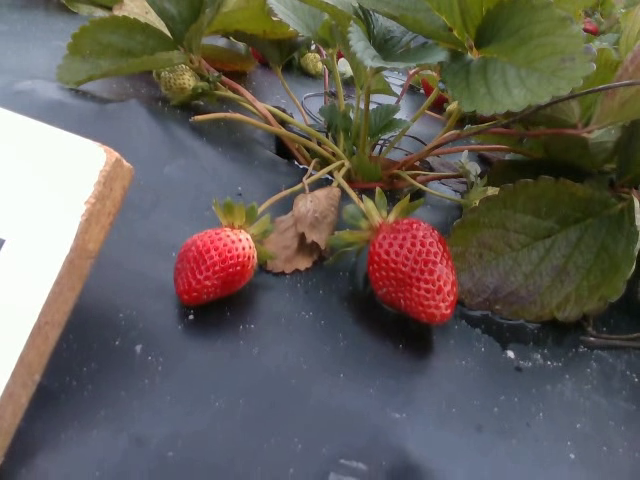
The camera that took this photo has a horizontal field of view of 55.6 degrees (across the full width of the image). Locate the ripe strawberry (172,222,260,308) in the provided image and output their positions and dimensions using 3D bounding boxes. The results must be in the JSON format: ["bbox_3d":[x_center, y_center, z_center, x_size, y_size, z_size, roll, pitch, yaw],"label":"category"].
[{"bbox_3d":[-0.042,0.008,0.235,0.036,0.041,0.028,17,-30,16],"label":"ripe strawberry"}]

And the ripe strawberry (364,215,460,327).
[{"bbox_3d":[0.038,0.011,0.243,0.044,0.059,0.042,-30,-36,6],"label":"ripe strawberry"}]
